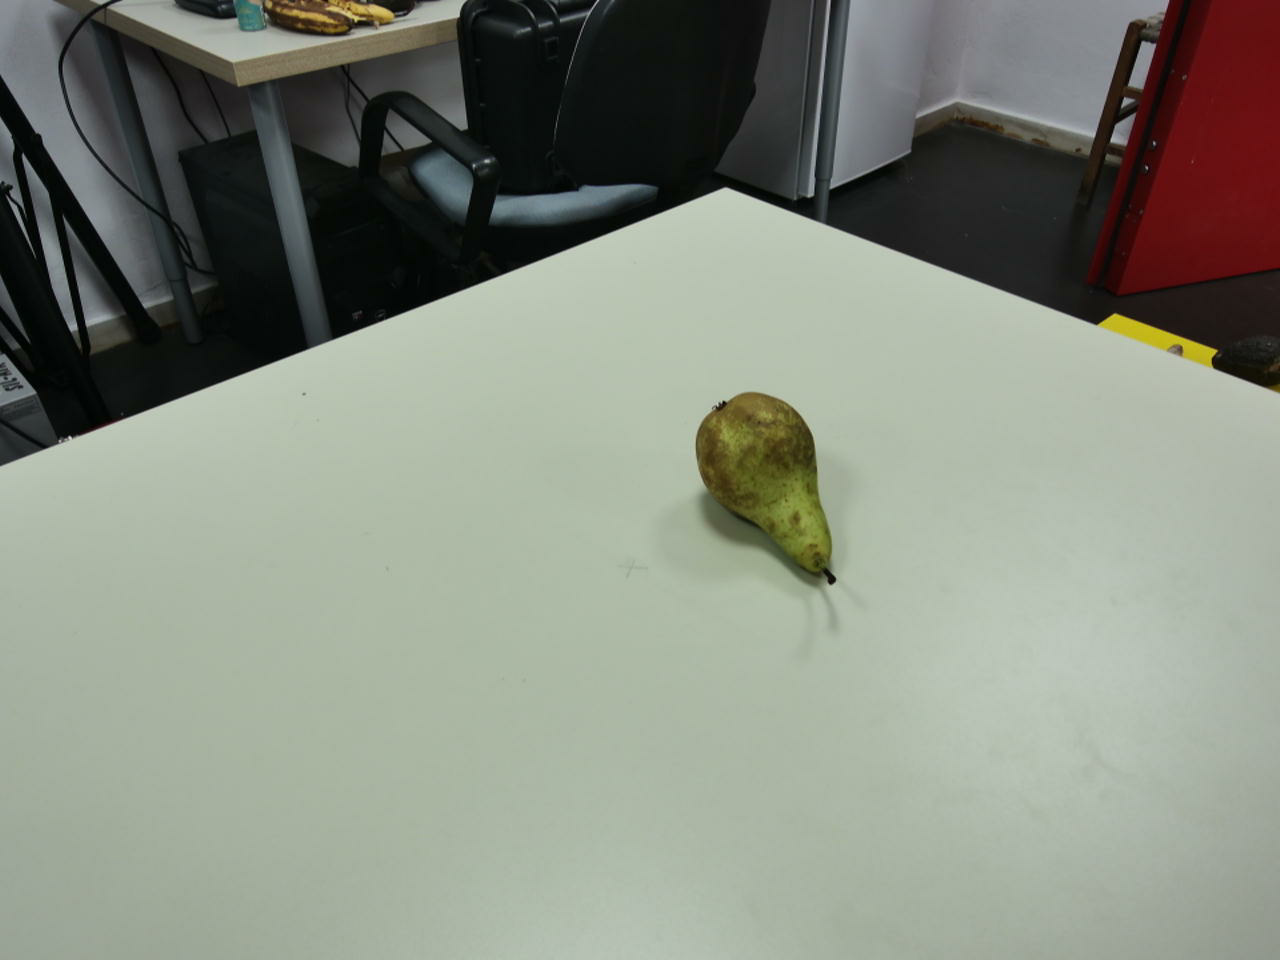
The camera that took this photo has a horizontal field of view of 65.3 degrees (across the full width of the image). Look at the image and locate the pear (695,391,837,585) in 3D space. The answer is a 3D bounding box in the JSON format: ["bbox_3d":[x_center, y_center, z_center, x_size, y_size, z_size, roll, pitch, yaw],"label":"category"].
[{"bbox_3d":[0.089,0.001,0.582,0.071,0.075,0.144,-23,42,-27],"label":"pear"}]
